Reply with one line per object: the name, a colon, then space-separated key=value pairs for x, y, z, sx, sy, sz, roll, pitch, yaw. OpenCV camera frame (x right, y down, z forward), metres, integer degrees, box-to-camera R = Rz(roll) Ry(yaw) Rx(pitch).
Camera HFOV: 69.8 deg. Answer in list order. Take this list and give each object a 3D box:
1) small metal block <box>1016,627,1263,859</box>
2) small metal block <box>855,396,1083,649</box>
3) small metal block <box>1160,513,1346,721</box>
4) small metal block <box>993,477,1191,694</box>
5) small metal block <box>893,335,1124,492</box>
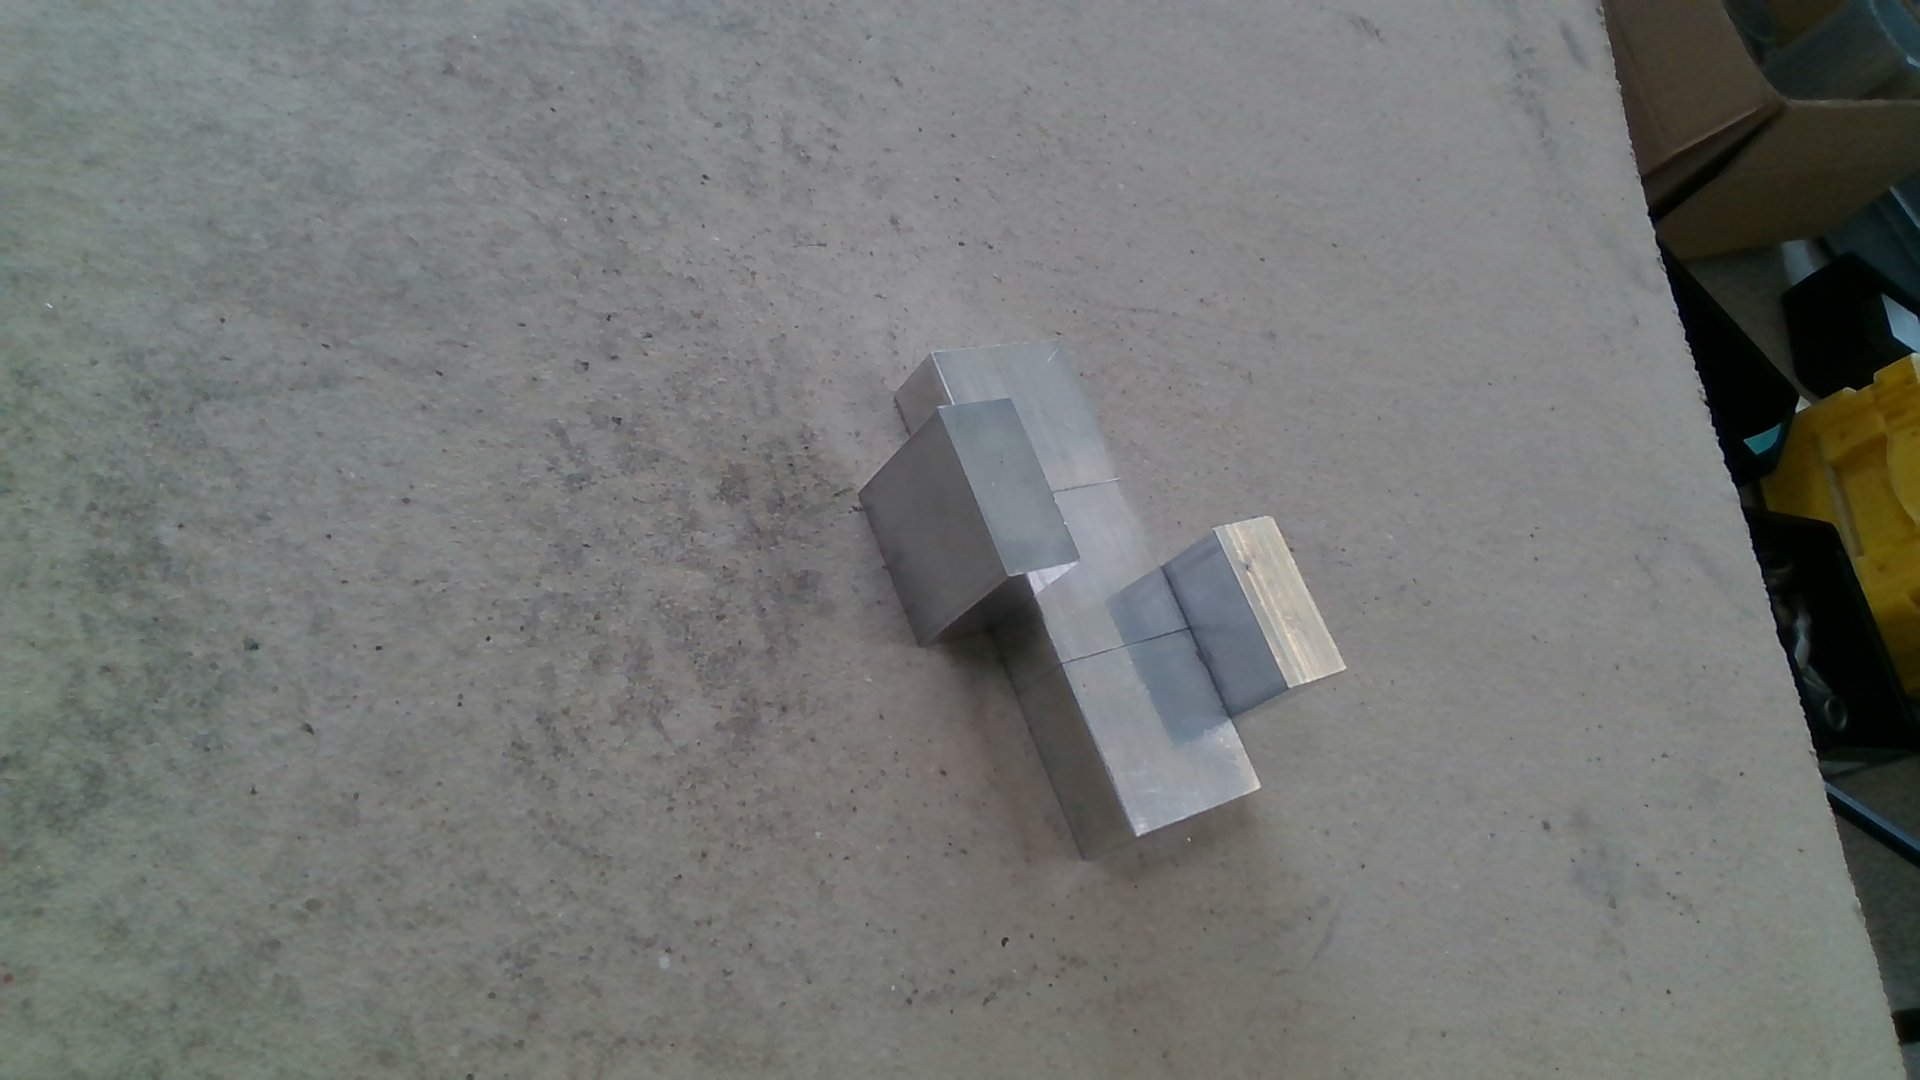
small metal block: x=0.051 y=0.057 z=0.394 sx=0.050 sy=0.025 sz=0.050 roll=-12 pitch=72 yaw=-35
small metal block: x=0.001 y=-0.004 z=0.380 sx=0.025 sy=0.050 sz=0.050 roll=-12 pitch=72 yaw=-36
small metal block: x=0.079 y=0.027 z=0.412 sx=0.025 sy=0.050 sz=0.050 roll=-11 pitch=71 yaw=-35
small metal block: x=0.033 y=0.013 z=0.406 sx=0.050 sy=0.025 sz=0.050 roll=-12 pitch=72 yaw=-35
small metal block: x=0.015 y=-0.032 z=0.419 sx=0.050 sy=0.025 sz=0.050 roll=-12 pitch=72 yaw=-35
